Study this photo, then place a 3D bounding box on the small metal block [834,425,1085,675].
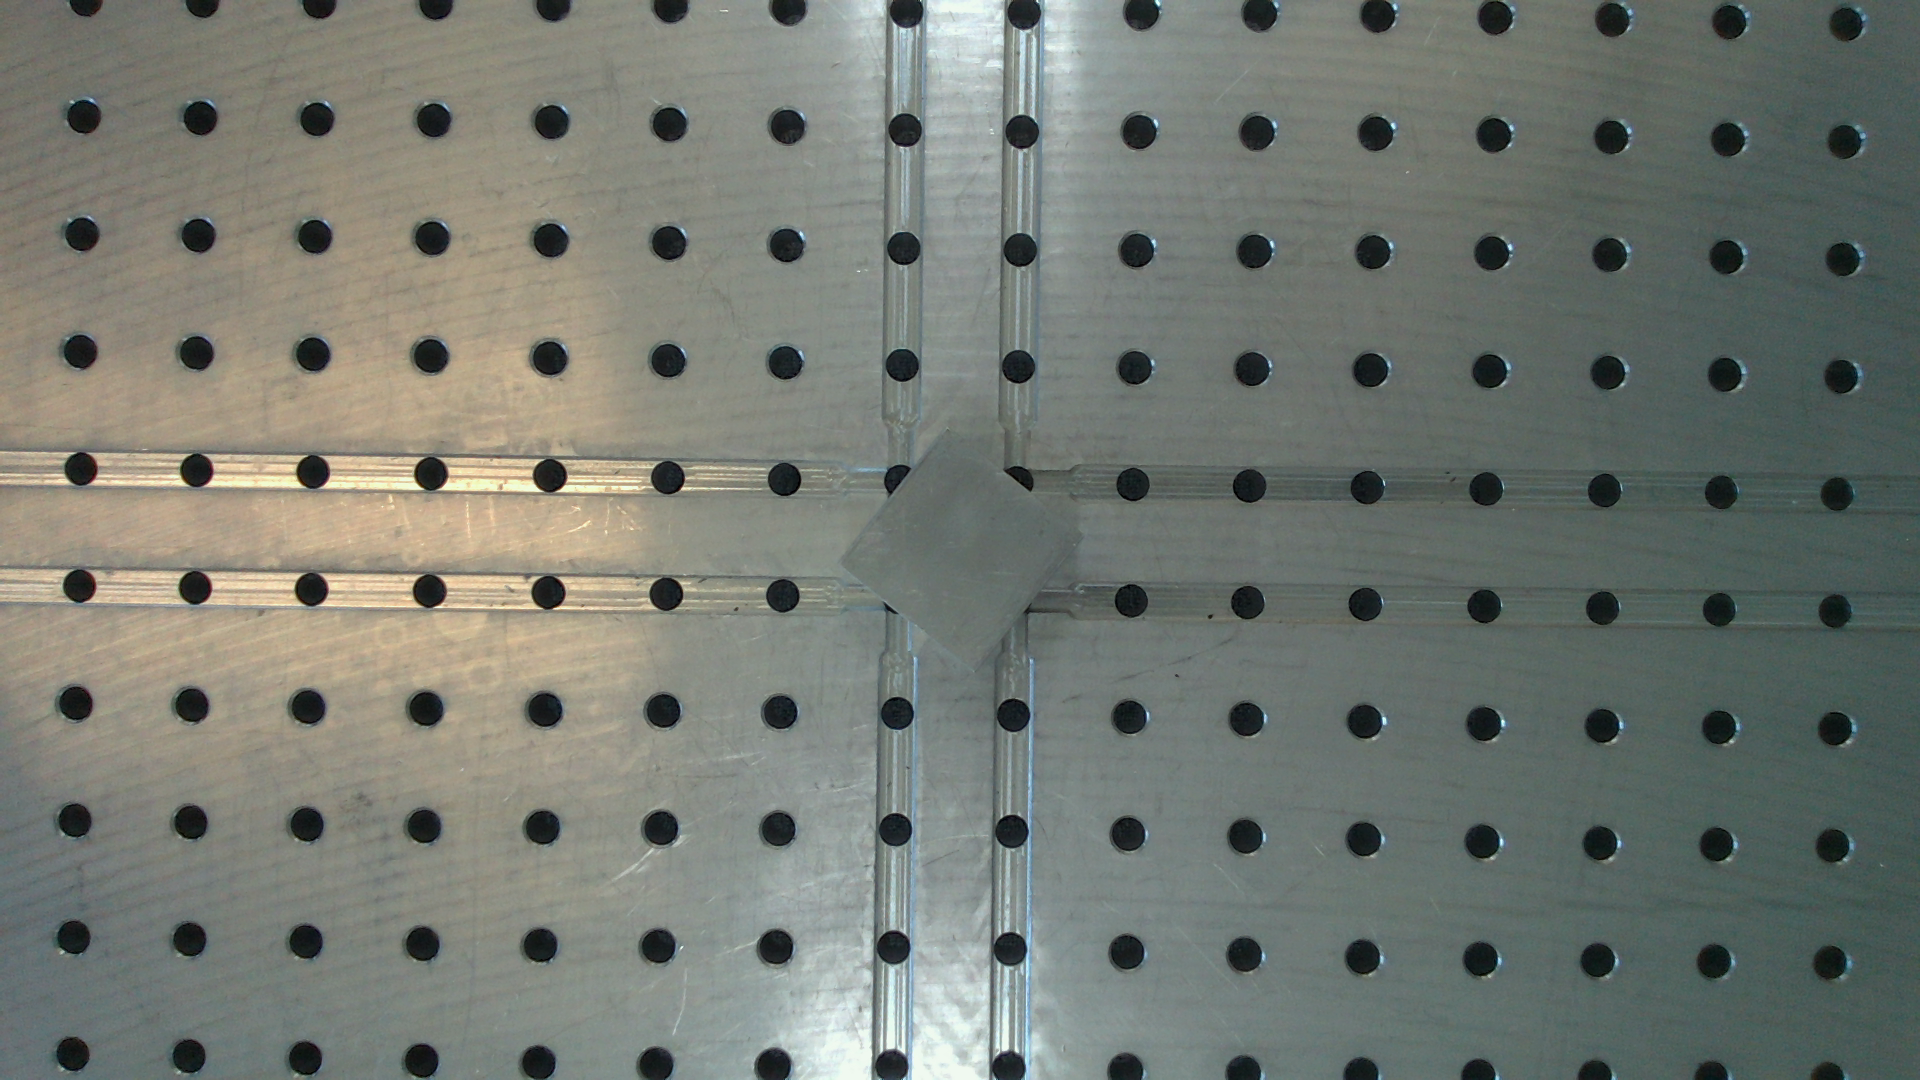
[{"bbox_3d":[0.000,0.003,0.398,0.050,0.025,0.050,38,90,-1],"label":"small metal block"}]
